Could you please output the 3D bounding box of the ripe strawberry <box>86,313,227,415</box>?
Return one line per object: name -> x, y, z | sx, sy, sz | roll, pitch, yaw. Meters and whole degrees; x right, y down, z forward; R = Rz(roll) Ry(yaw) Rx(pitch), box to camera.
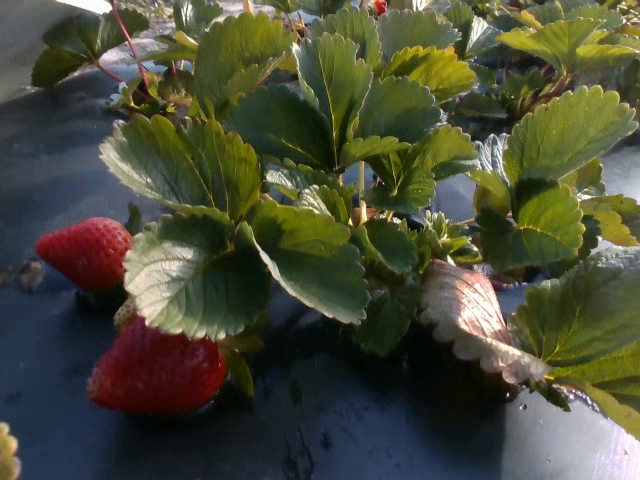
ripe strawberry -> -0.073, 0.050, 0.252 | 0.064, 0.050, 0.048 | -33, 4, -34
